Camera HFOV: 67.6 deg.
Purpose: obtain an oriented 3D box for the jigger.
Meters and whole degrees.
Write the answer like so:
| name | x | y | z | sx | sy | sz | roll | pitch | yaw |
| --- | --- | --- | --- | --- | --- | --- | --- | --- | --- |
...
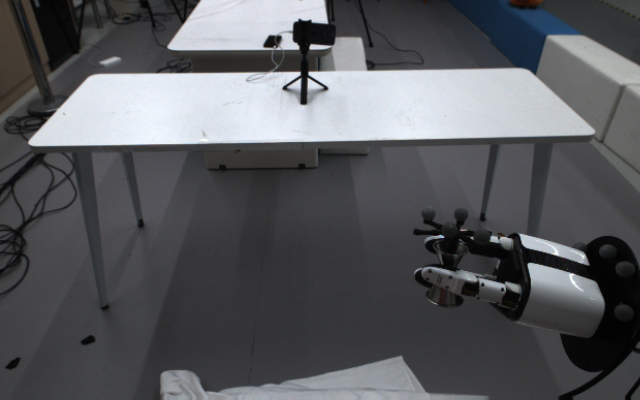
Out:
| name | x | y | z | sx | sy | sz | roll | pitch | yaw |
| --- | --- | --- | --- | --- | --- | --- | --- | --- | --- |
| jigger | 0.149 | 0.084 | 0.575 | 0.043 | 0.071 | 0.043 | 1 | 20 | 0 |
